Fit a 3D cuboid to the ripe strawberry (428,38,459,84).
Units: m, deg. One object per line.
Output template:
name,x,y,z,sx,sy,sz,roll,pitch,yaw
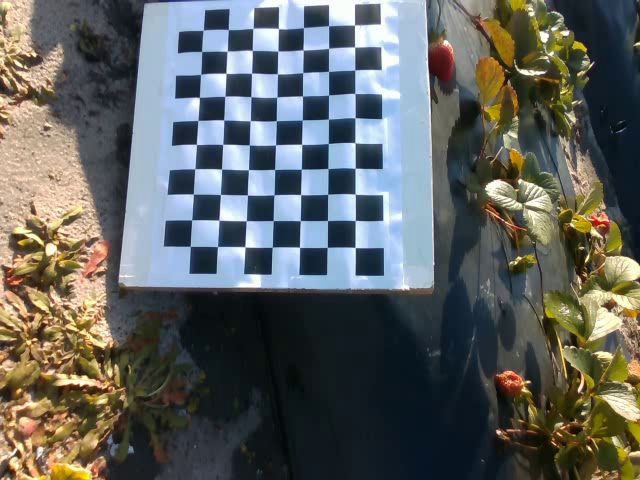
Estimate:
ripe strawberry,0.143,-0.205,0.668,0.044,0.064,0.044,-17,-13,0
